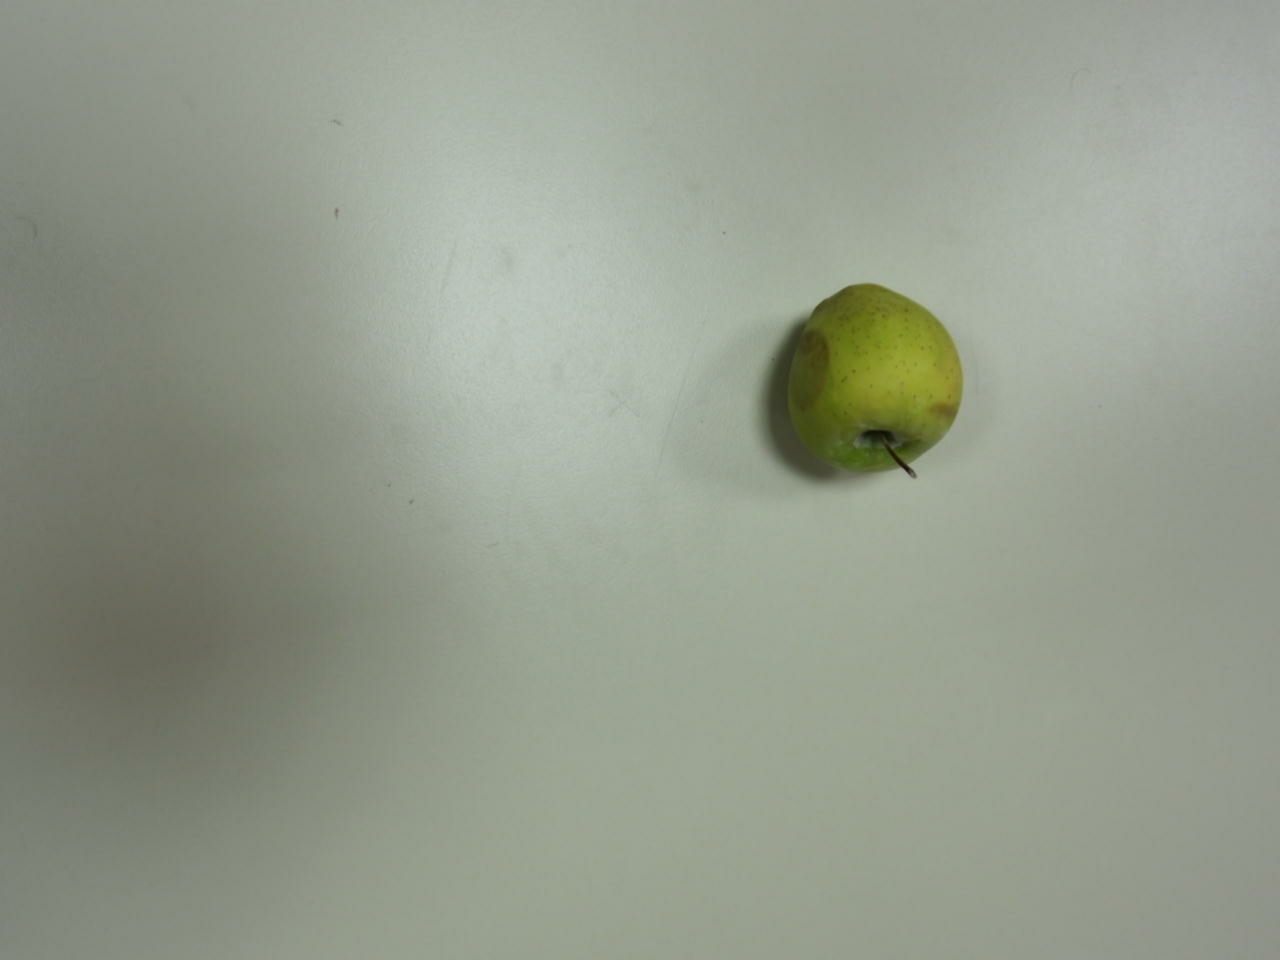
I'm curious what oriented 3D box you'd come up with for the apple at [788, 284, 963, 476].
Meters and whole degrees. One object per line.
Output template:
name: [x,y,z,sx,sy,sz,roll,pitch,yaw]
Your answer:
apple: [0.098,-0.041,0.419,0.072,0.075,0.077,35,84,-10]
